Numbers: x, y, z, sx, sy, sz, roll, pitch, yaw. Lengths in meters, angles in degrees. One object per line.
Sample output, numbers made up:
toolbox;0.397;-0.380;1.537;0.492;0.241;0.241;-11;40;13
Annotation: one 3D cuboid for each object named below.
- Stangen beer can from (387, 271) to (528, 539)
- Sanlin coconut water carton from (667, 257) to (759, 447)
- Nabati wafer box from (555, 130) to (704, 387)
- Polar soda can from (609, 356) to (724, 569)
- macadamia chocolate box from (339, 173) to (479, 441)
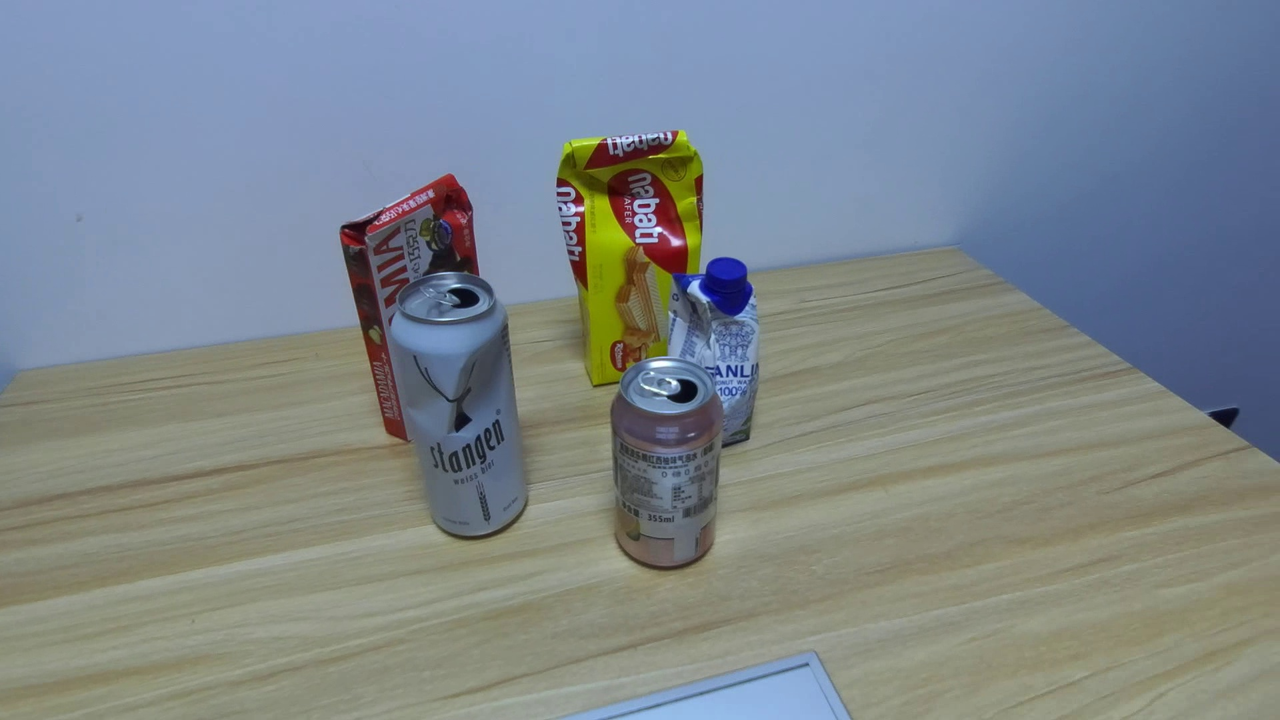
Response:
Stangen beer can;-0.110;0.032;0.445;0.070;0.173;0.069;-12;36;-16
Sanlin coconut water carton;0.055;-0.008;0.523;0.057;0.145;0.068;-10;27;-26
Nabati wafer box;-0.004;-0.077;0.571;0.113;0.205;0.042;-9;33;-10
Polar soda can;0.016;0.064;0.432;0.067;0.126;0.067;-1;33;1
macadamia chocolate box;-0.160;-0.037;0.532;0.027;0.187;0.103;23;40;25
